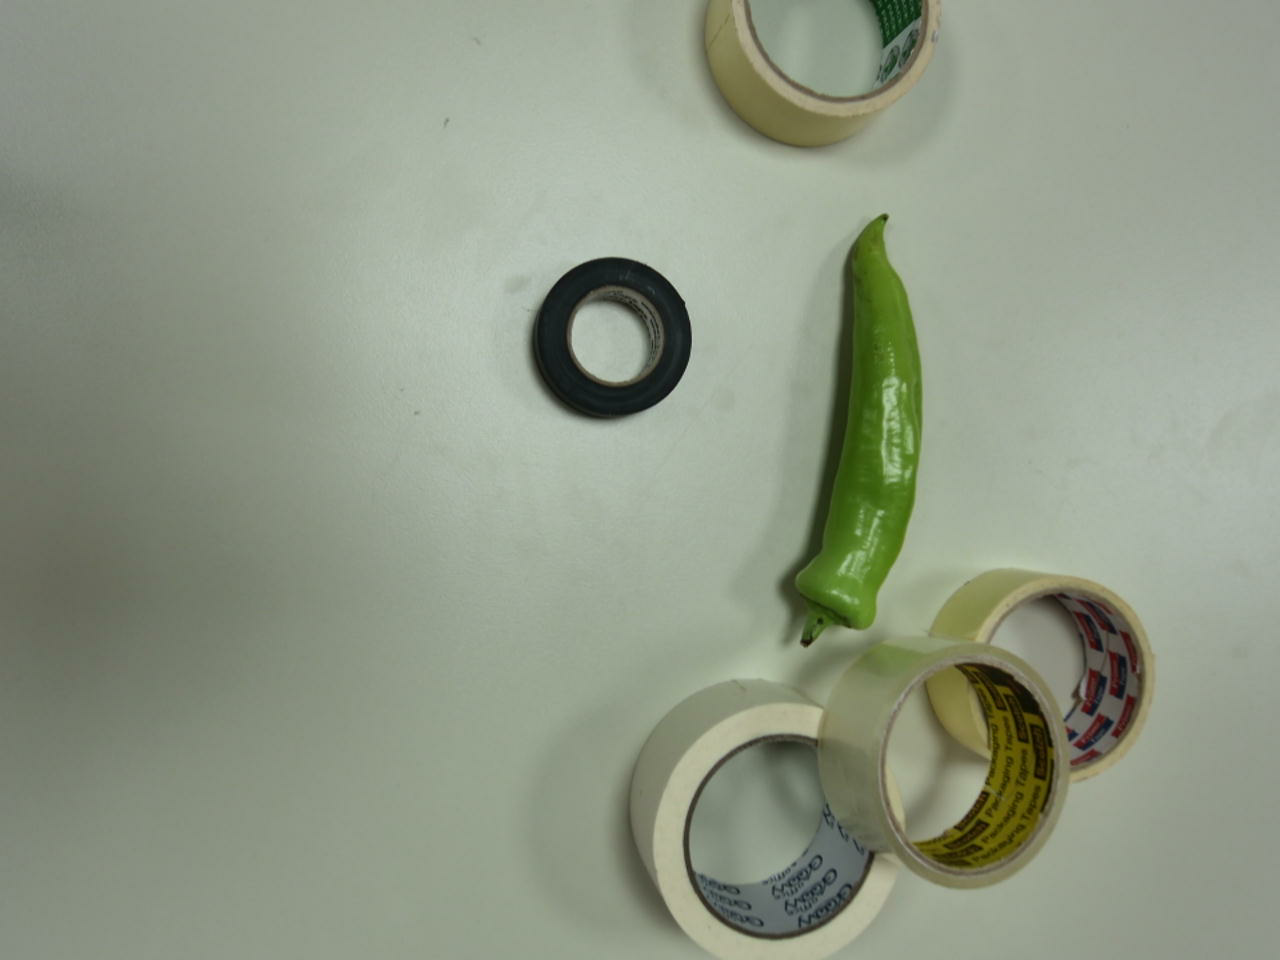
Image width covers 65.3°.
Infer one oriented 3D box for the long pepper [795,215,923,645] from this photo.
[{"bbox_3d":[0.103,-0.022,0.439,0.047,0.038,0.197,12,88,-11],"label":"long pepper"}]
